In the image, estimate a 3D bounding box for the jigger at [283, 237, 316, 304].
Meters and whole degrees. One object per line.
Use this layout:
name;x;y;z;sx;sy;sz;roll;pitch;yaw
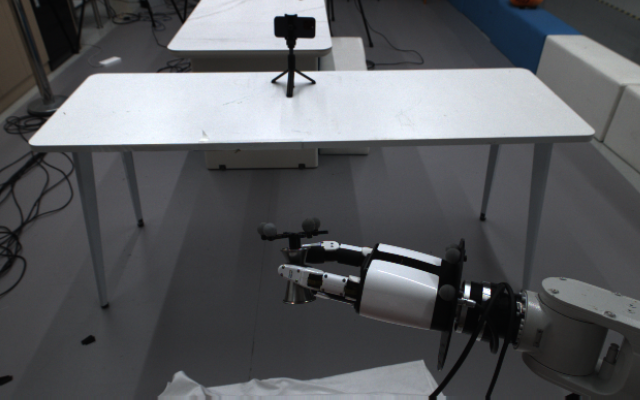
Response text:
jigger;-0.029;0.095;0.621;0.043;0.071;0.043;-4;1;0
